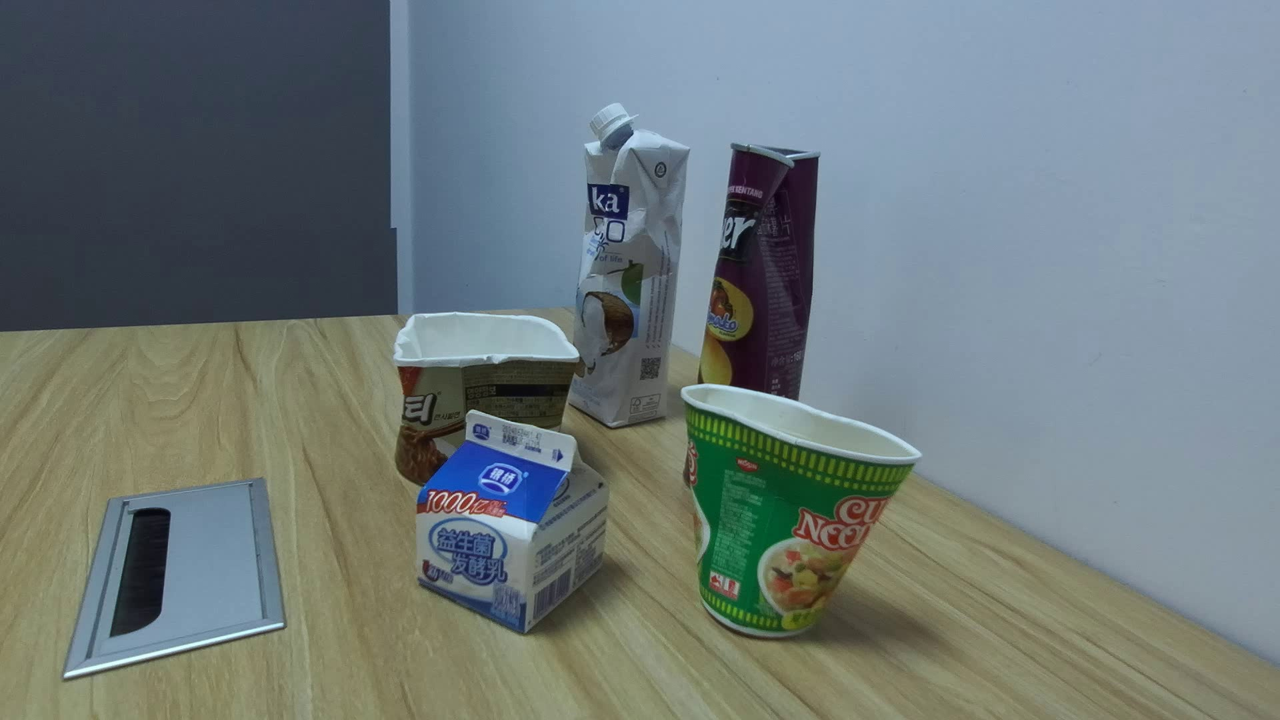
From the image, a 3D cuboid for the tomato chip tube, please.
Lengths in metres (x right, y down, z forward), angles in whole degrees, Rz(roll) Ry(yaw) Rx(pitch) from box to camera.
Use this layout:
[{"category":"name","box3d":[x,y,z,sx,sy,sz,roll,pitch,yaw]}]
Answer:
[{"category":"tomato chip tube","box3d":[0.081,-0.021,0.478,0.078,0.235,0.076,3,17,-10]}]

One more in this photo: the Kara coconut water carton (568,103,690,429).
[{"category":"Kara coconut water carton","box3d":[-0.012,-0.075,0.588,0.079,0.255,0.083,-6,21,-26]}]

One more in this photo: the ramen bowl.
[{"category":"ramen bowl","box3d":[-0.120,0.023,0.509,0.114,0.097,0.133,-6,21,-26]}]

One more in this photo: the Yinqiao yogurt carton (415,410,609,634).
[{"category":"Yinqiao yogurt carton","box3d":[-0.065,0.074,0.372,0.075,0.092,0.074,13,20,26]}]

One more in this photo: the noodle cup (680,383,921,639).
[{"category":"noodle cup","box3d":[0.068,0.076,0.366,0.070,0.111,0.114,-9,23,-32]}]
